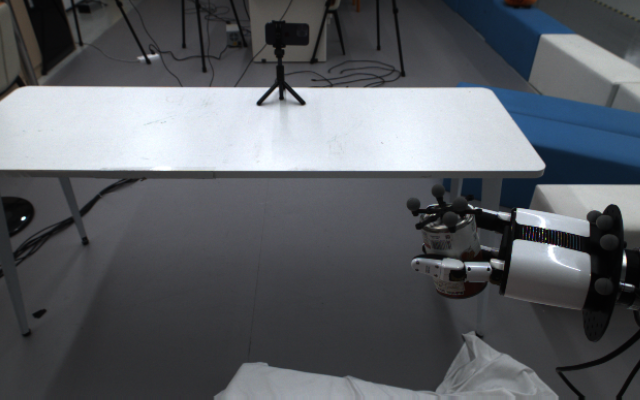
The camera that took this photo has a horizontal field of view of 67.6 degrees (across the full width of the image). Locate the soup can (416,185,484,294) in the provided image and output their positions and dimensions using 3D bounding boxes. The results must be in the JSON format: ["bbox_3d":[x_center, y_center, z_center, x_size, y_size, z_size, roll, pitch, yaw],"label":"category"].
[{"bbox_3d":[0.170,0.062,0.607,0.067,0.101,0.067,-16,23,7],"label":"soup can"}]
